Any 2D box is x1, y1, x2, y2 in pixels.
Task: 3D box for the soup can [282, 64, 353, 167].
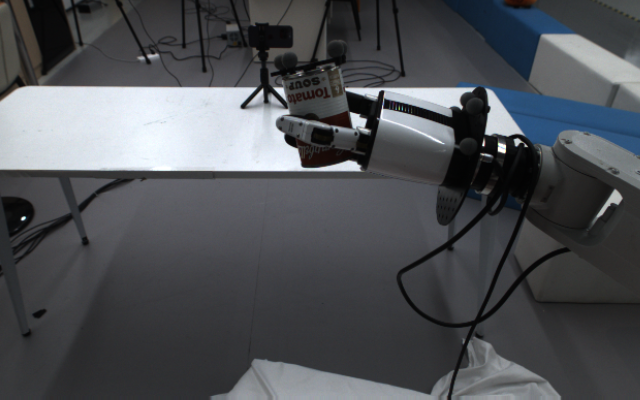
[{"bbox_3d":[0.002,-0.094,0.545,0.067,0.101,0.067,-12,17,4],"label":"soup can"}]
